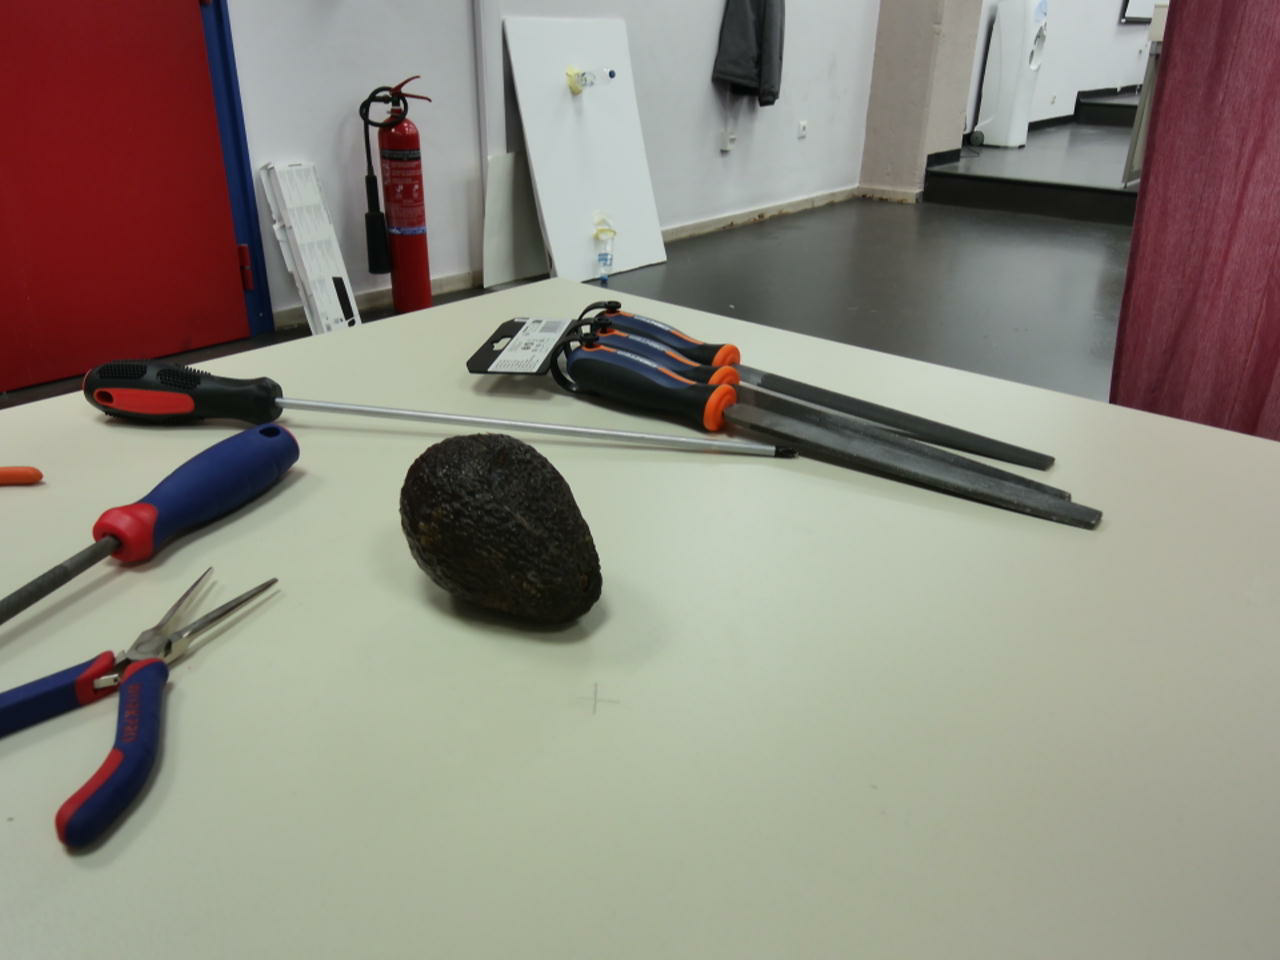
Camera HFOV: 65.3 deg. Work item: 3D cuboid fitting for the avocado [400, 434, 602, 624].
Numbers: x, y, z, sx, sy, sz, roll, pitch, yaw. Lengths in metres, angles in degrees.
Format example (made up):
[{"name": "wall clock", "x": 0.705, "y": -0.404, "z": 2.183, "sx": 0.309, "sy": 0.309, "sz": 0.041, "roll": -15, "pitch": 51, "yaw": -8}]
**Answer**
[{"name": "avocado", "x": -0.059, "y": 0.018, "z": 0.407, "sx": 0.070, "sy": 0.069, "sz": 0.090, "roll": -10, "pitch": 25, "yaw": -24}]
